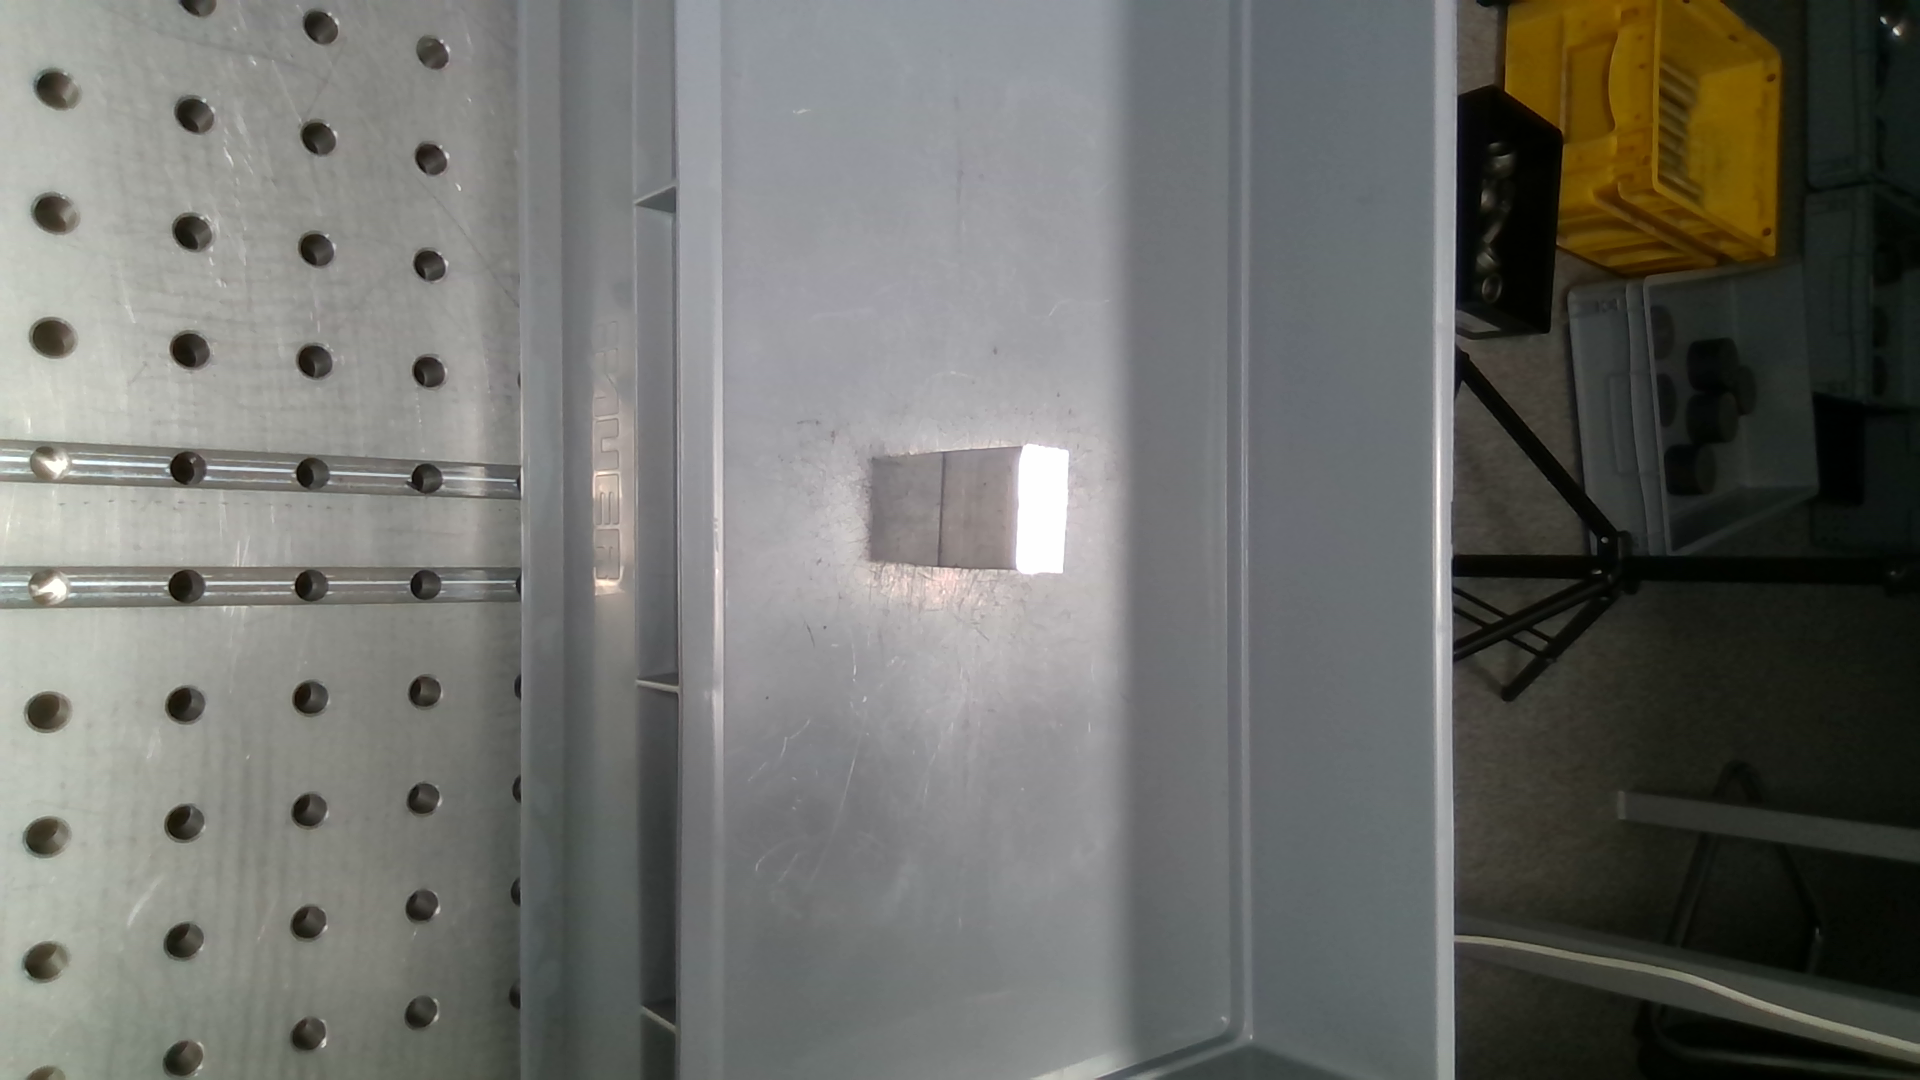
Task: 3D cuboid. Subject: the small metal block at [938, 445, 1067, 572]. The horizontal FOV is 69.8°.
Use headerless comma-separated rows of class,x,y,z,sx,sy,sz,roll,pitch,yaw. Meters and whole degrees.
small metal block,0.017,-0.012,0.577,0.025,0.050,0.050,4,87,-40
